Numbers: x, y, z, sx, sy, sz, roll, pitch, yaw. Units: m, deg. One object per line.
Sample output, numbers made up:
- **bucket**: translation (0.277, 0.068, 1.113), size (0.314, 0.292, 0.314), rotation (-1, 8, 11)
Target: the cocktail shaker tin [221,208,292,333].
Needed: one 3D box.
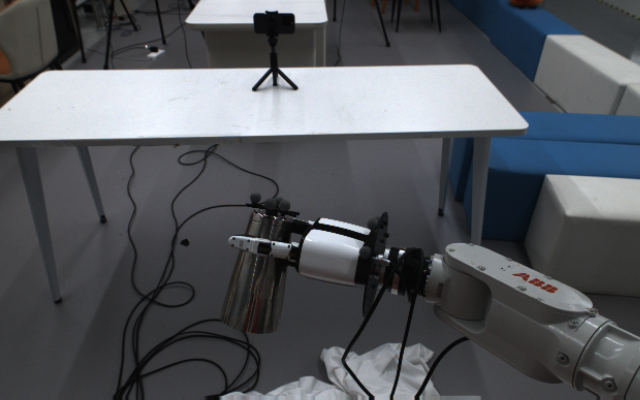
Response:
- **cocktail shaker tin**: translation (-0.089, 0.103, 0.743), size (0.093, 0.170, 0.093), rotation (13, 3, -1)
